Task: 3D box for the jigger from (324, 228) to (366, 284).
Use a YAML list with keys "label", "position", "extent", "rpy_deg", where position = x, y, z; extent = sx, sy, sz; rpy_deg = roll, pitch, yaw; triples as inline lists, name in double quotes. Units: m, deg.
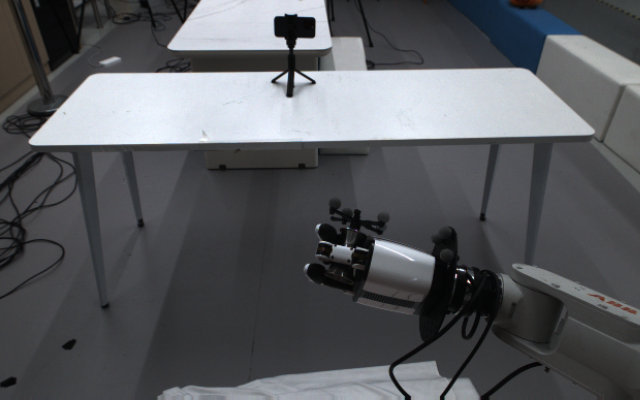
- label: "jigger"
  position: [0.039, 0.076, 0.668]
  extent: [0.043, 0.043, 0.071]
  rpy_deg: [12, 71, 14]
